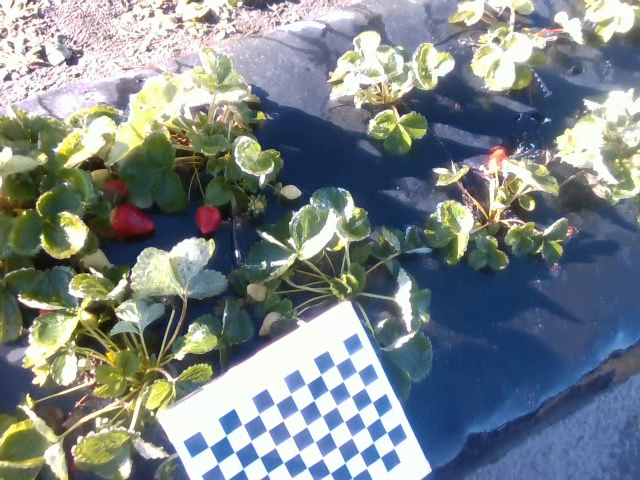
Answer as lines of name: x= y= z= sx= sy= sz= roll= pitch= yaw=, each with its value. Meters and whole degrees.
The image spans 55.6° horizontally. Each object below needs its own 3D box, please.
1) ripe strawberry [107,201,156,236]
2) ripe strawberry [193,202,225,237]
ripe strawberry: x=-0.239 y=-0.025 z=0.769 sx=0.056 sy=0.044 sz=0.040 roll=24 pitch=-17 yaw=-16
ripe strawberry: x=-0.147 y=-0.026 z=0.791 sx=0.039 sy=0.047 sz=0.040 roll=13 pitch=-25 yaw=-19
